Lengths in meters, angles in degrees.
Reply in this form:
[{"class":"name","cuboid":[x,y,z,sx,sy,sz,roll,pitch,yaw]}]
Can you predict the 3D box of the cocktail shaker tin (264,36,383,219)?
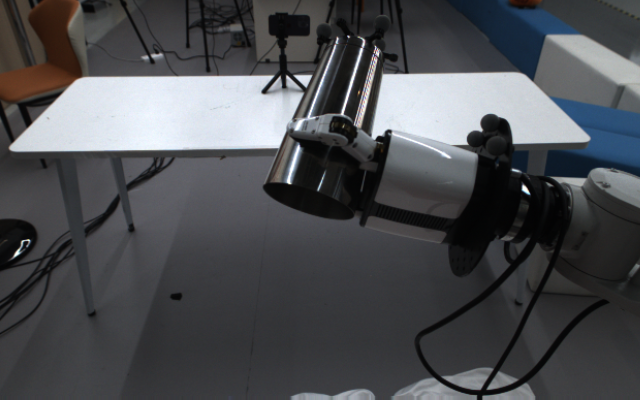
[{"class":"cocktail shaker tin","cuboid":[0.014,-0.075,0.489,0.093,0.093,0.170,13,73,15]}]
